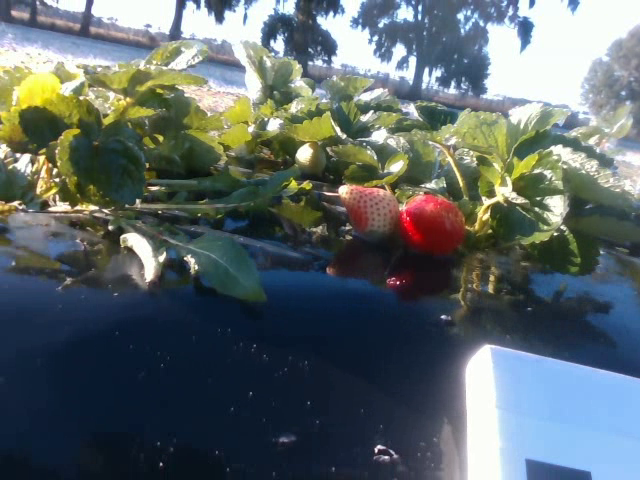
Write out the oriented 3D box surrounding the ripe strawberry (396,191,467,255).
[{"bbox_3d":[0.061,-0.014,0.327,0.040,0.037,0.055,-16,-30,6],"label":"ripe strawberry"}]
